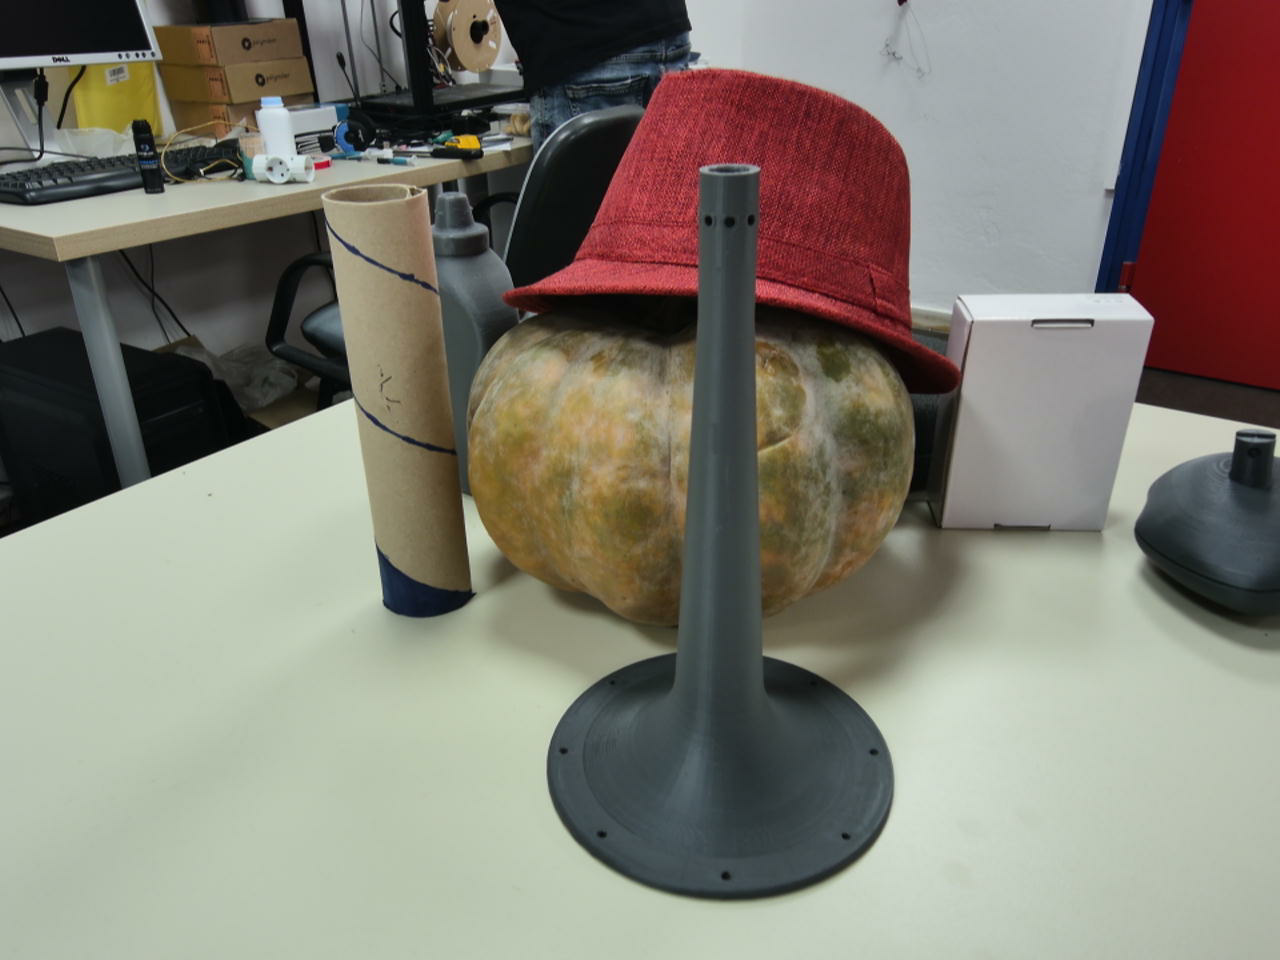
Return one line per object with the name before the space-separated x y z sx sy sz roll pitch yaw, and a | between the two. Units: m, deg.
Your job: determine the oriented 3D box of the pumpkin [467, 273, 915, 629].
pumpkin | 0.025 -0.025 0.550 0.252 0.169 0.251 0 25 0
